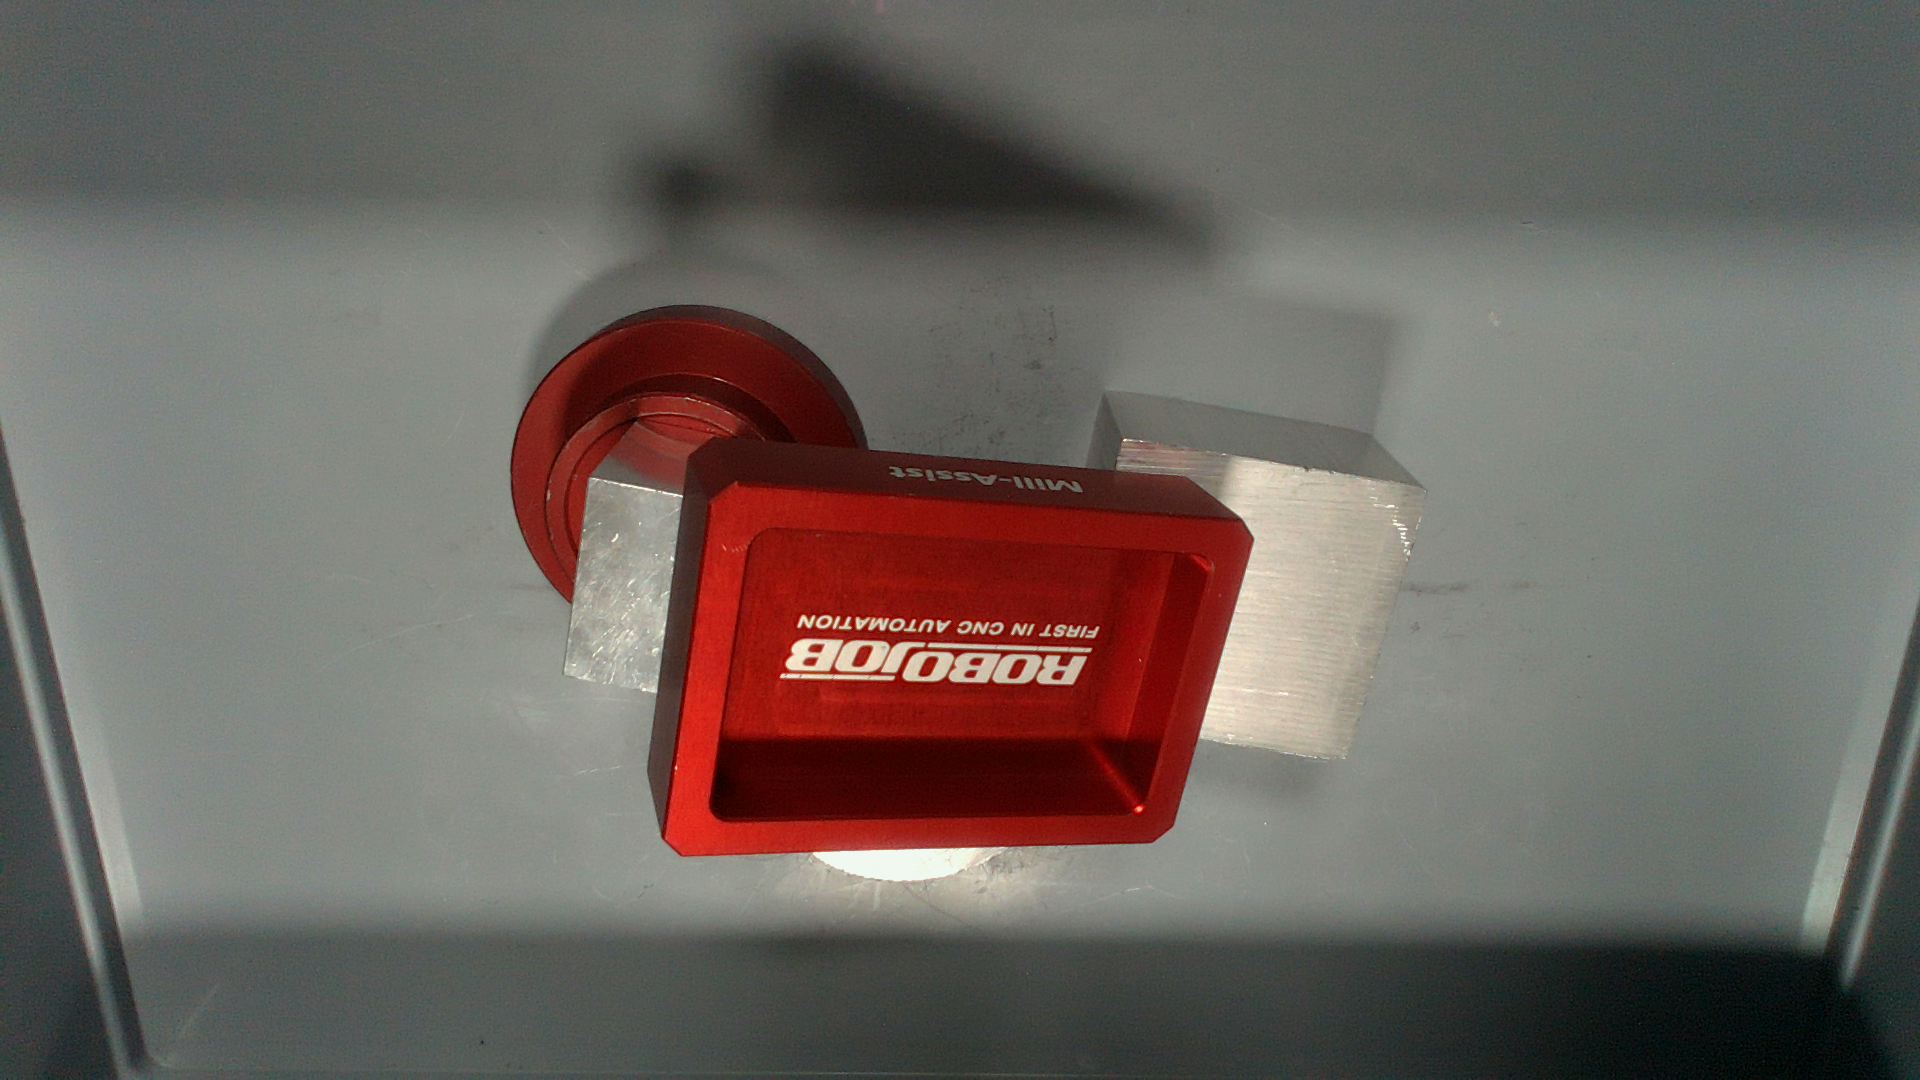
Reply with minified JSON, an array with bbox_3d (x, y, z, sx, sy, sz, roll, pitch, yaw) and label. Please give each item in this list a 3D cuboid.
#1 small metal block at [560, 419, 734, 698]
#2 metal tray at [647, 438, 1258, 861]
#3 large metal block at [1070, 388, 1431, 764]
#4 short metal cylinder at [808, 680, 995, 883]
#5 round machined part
[{"bbox_3d":[-0.075,0.003,0.335,0.025,0.050,0.050,11,110,-4],"label":"small metal block"},{"bbox_3d":[-0.002,0.028,0.325,0.130,0.030,0.090,3,112,-22],"label":"metal tray"},{"bbox_3d":[0.073,0.009,0.382,0.080,0.050,0.080,9,110,-4],"label":"large metal block"},{"bbox_3d":[-0.014,0.049,0.385,0.080,0.050,0.080,-7,124,-10],"label":"short metal cylinder"},{"bbox_3d":[-0.075,-0.013,0.379,0.098,0.042,0.098,0,110,0],"label":"round machined part"}]
